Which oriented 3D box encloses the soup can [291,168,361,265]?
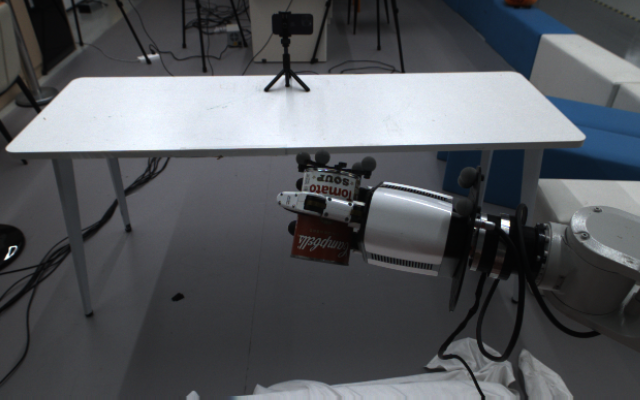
[{"bbox_3d":[0.009,0.020,0.551,0.067,0.101,0.067,9,-6,1],"label":"soup can"}]
